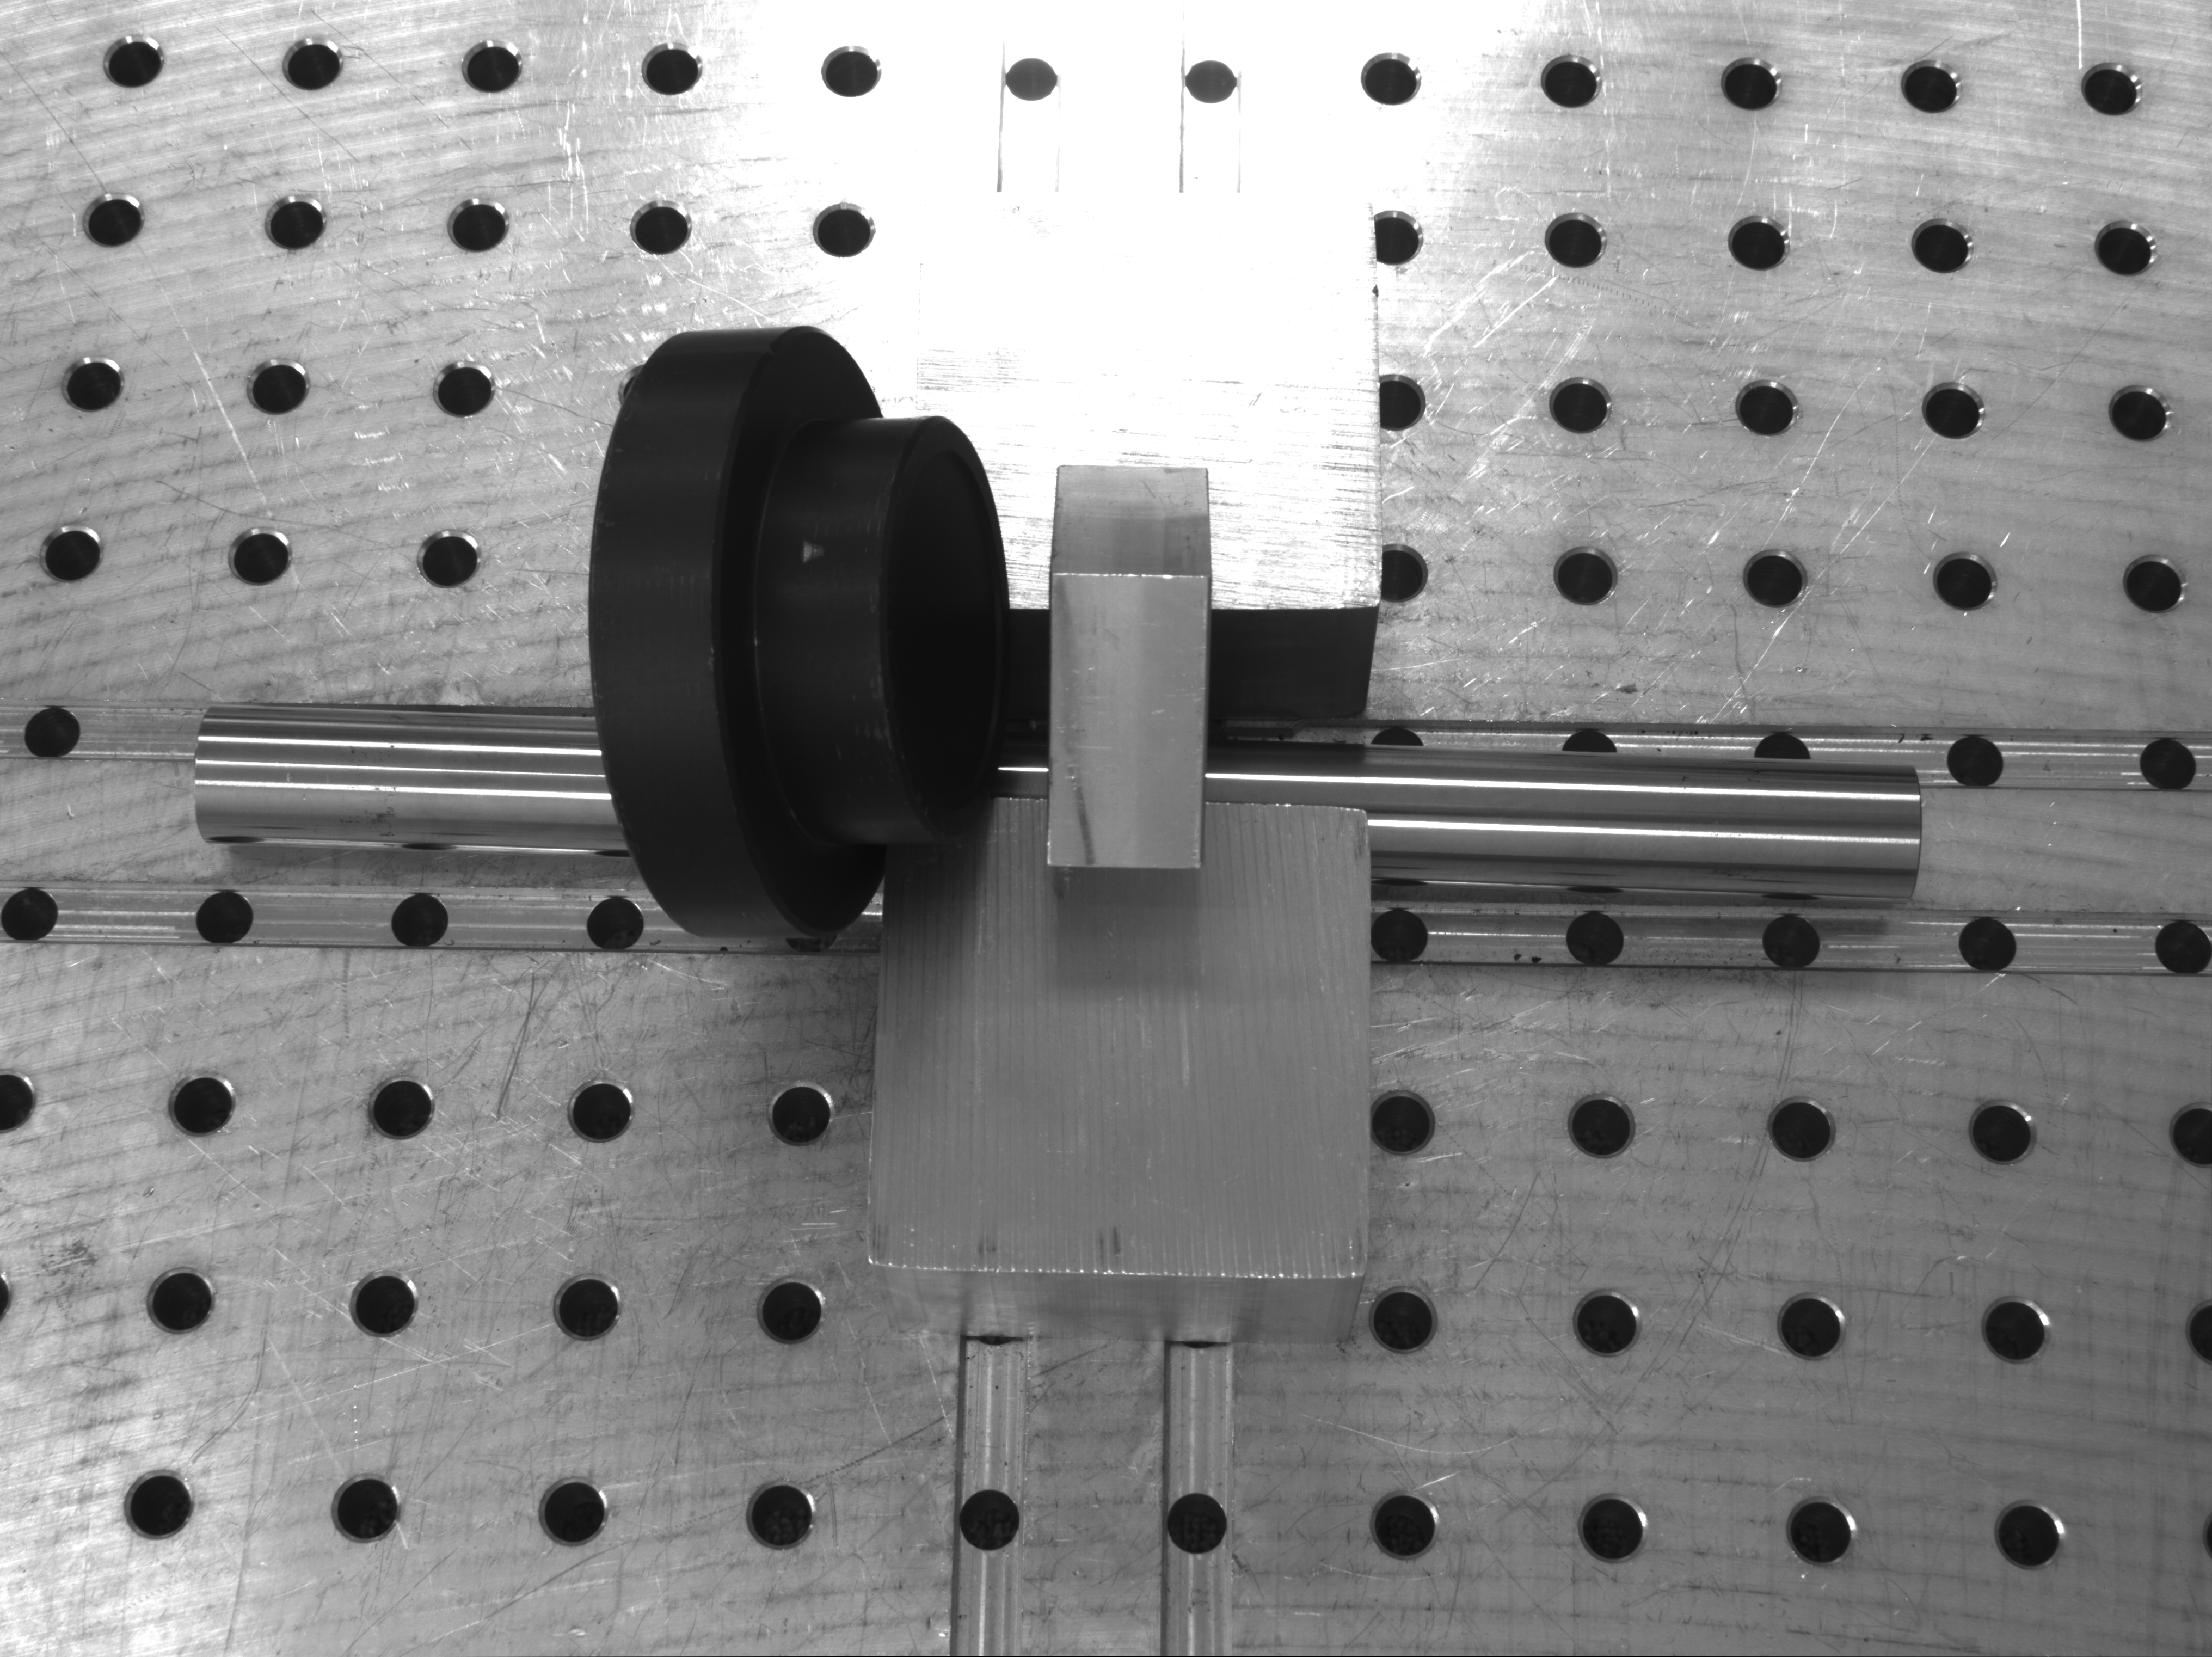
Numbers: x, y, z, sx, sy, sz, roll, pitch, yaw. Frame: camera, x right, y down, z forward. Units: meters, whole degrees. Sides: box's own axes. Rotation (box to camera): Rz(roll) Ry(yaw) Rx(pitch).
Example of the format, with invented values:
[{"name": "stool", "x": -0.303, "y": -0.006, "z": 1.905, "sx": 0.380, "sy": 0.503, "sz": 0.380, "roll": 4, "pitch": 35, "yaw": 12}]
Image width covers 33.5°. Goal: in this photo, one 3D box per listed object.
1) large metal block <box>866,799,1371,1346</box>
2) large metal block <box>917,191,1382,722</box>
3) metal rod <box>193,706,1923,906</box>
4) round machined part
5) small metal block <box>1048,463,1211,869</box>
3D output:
[{"name": "large metal block", "x": 0.003, "y": 0.042, "z": 0.620, "sx": 0.080, "sy": 0.050, "sz": 0.080, "roll": 1, "pitch": 70, "yaw": 1}, {"name": "large metal block", "x": 0.007, "y": -0.066, "z": 0.659, "sx": 0.080, "sy": 0.050, "sz": 0.080, "roll": 1, "pitch": 70, "yaw": 0}, {"name": "metal rod", "x": -0.009, "y": -0.004, "z": 0.649, "sx": 0.300, "sy": 0.025, "sz": 0.025, "roll": 2, "pitch": 70, "yaw": 1}, {"name": "round machined part", "x": -0.044, "y": -0.031, "z": 0.590, "sx": 0.042, "sy": 0.098, "sz": 0.098, "roll": -1, "pitch": 69, "yaw": 15}, {"name": "small metal block", "x": 0.004, "y": -0.027, "z": 0.598, "sx": 0.025, "sy": 0.050, "sz": 0.050, "roll": 1, "pitch": 26, "yaw": 1}]
